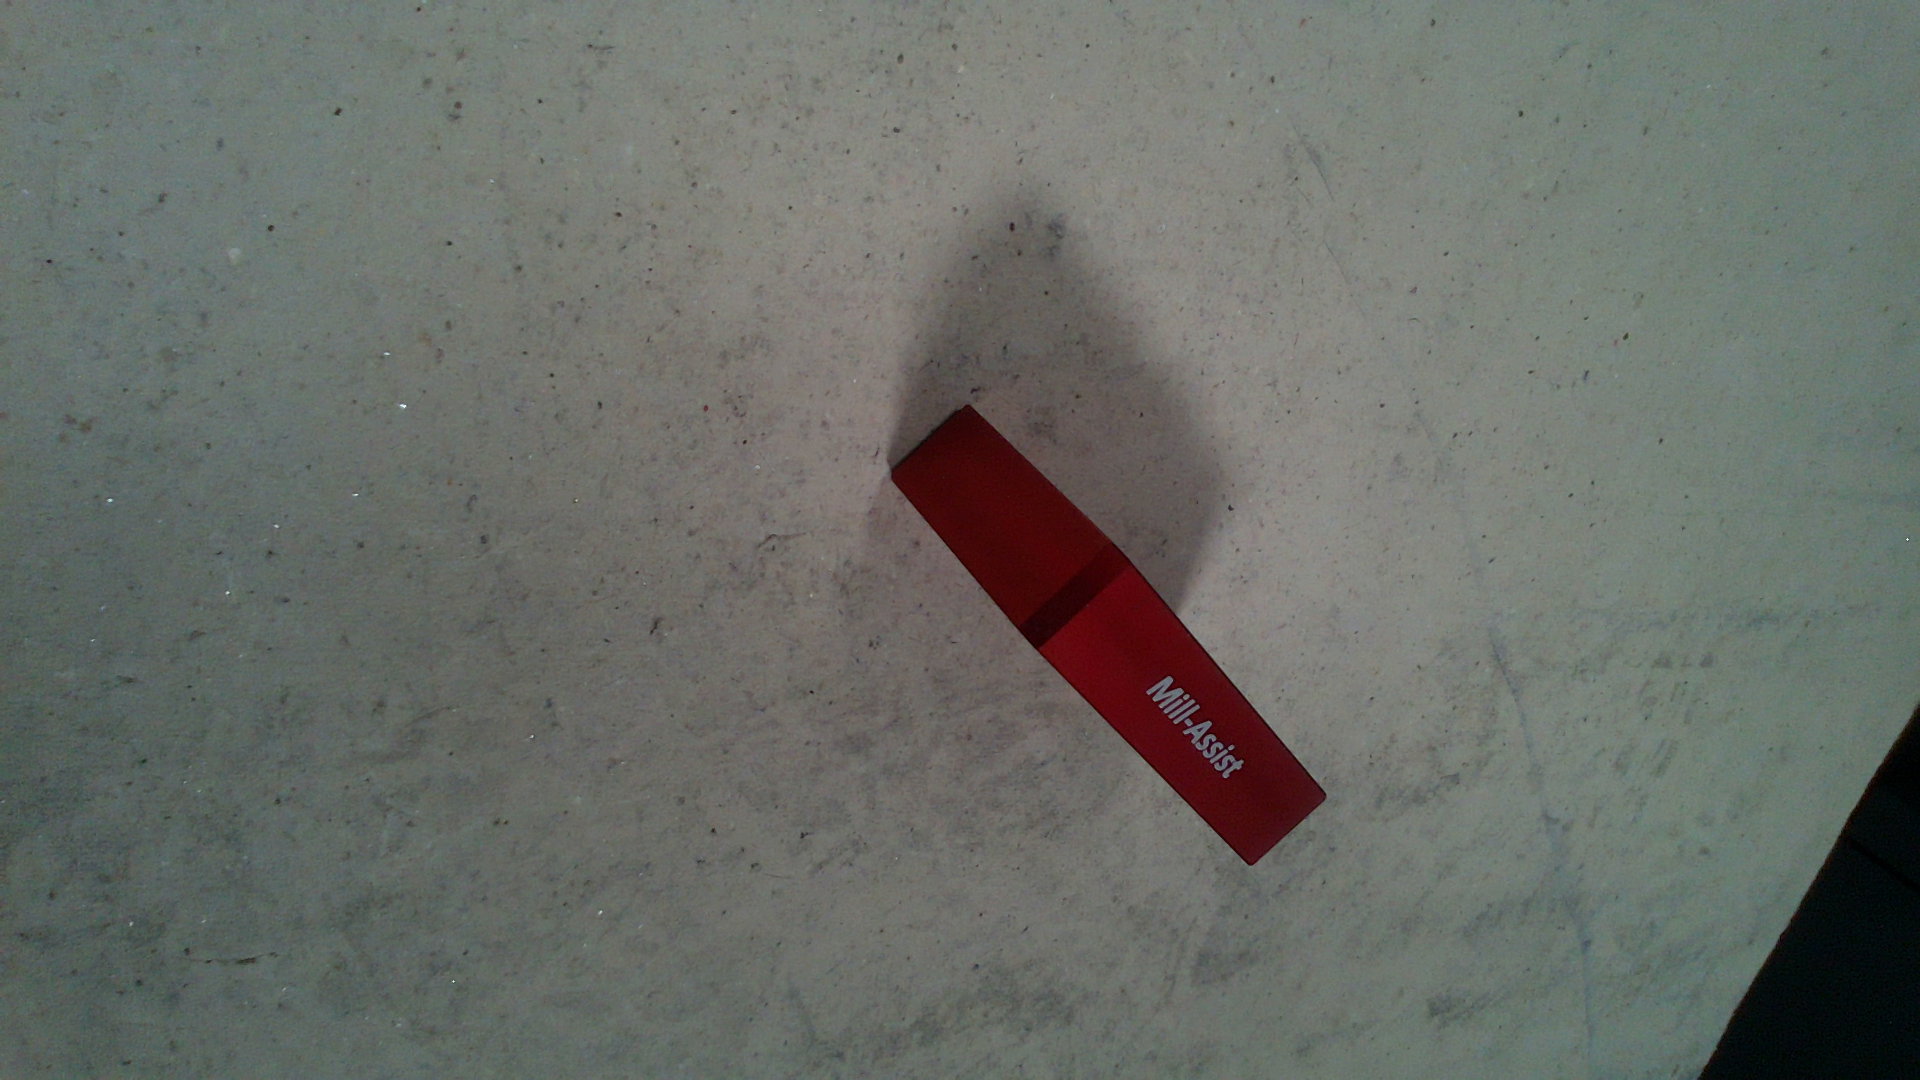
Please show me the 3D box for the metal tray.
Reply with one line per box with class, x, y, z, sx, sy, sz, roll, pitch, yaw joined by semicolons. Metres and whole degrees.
metal tray;0.043;0.028;0.387;0.030;0.090;0.130;-43;129;1
